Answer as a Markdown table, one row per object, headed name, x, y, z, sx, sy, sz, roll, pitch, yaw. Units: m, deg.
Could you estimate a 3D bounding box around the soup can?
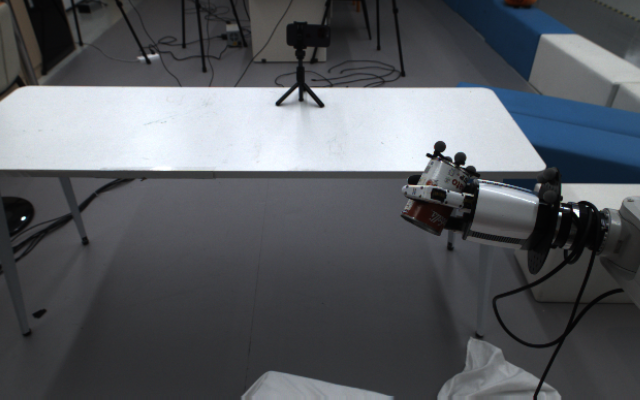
| name | x | y | z | sx | sy | sz | roll | pitch | yaw |
| --- | --- | --- | --- | --- | --- | --- | --- | --- | --- |
| soup can | 0.177 | -0.006 | 0.739 | 0.067 | 0.101 | 0.067 | 28 | -2 | 1 |
